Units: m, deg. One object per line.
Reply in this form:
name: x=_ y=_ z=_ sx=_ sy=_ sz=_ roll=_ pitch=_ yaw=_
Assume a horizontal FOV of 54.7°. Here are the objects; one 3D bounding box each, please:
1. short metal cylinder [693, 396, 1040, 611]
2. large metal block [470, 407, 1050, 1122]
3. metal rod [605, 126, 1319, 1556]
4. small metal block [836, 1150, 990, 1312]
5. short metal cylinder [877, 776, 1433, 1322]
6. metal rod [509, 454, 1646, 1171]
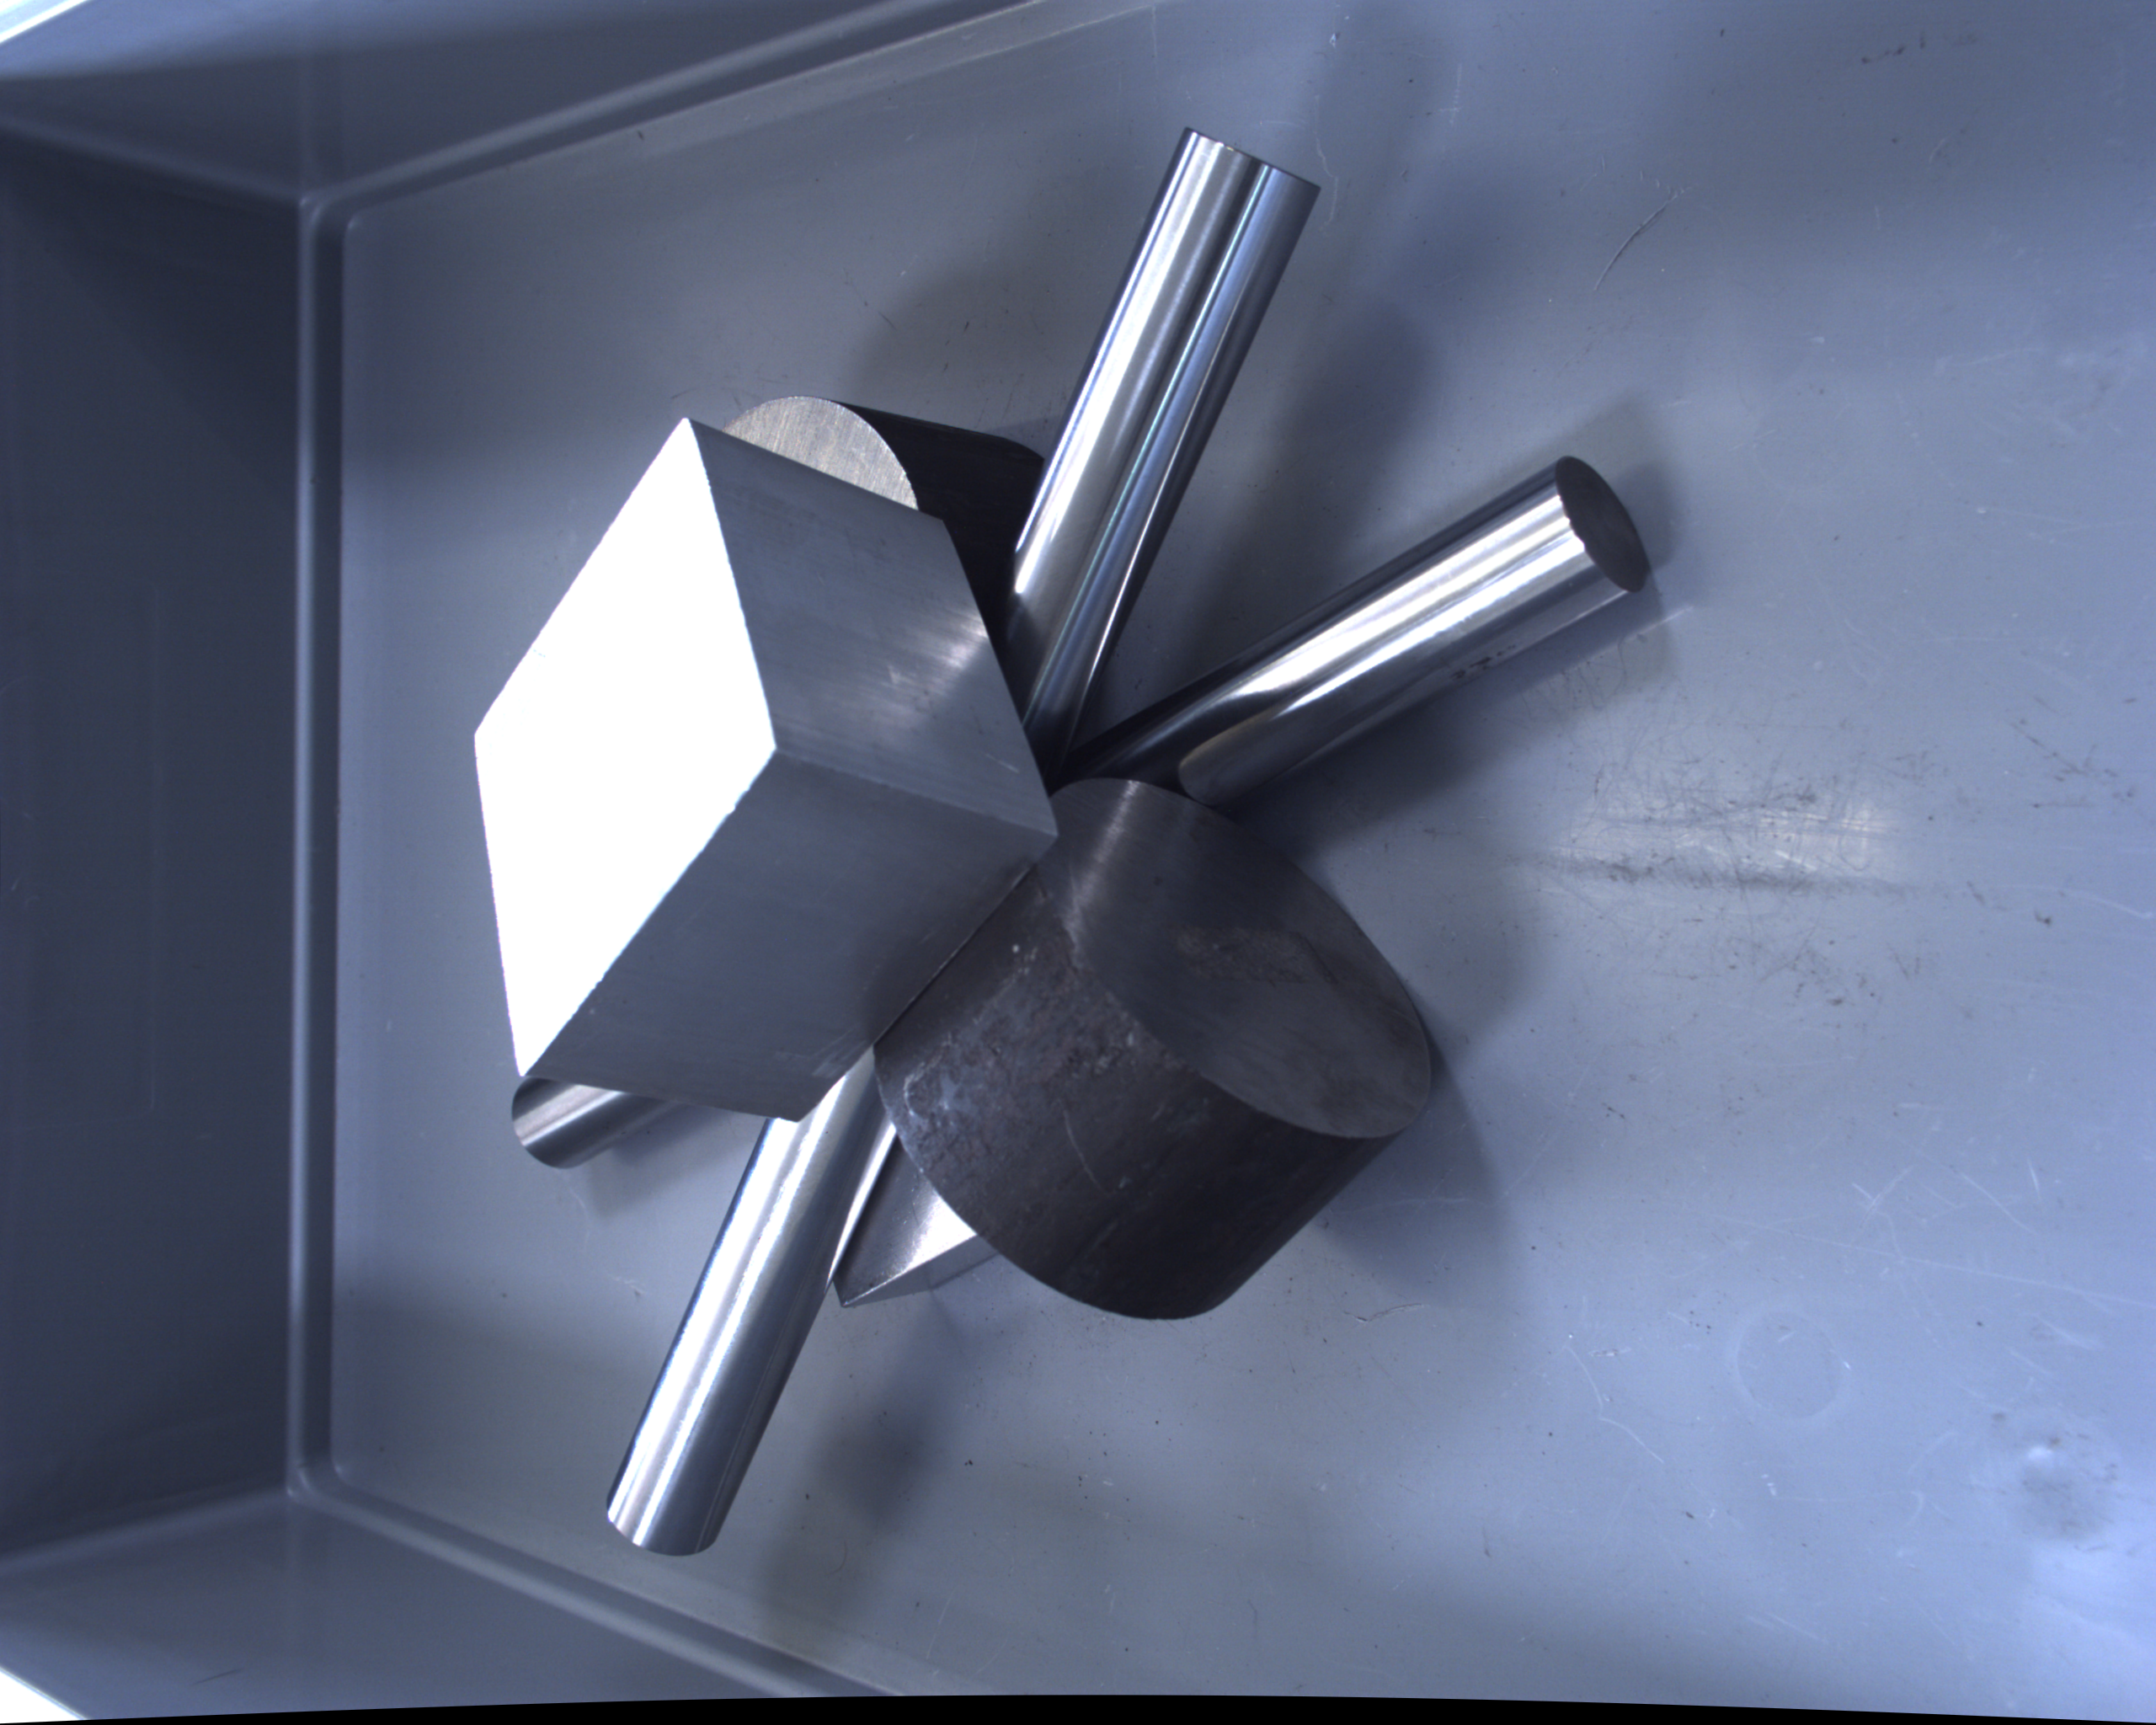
short metal cylinder: x=-0.041 y=-0.050 z=0.422 sx=0.080 sy=0.050 sz=0.079 roll=0 pitch=90 yaw=40
large metal block: x=-0.058 y=-0.015 z=0.354 sx=0.080 sy=0.050 sz=0.080 roll=-48 pitch=45 yaw=30
metal rod: x=-0.030 y=0.010 z=0.397 sx=0.025 sy=0.025 sz=0.298 roll=37 pitch=112 yaw=33
small metal block: x=-0.032 y=0.059 z=0.431 sx=0.050 sy=0.025 sz=0.050 roll=-34 pitch=69 yaw=34
short metal cylinder: x=0.013 y=0.031 z=0.358 sx=0.050 sy=0.081 sz=0.080 roll=-51 pitch=60 yaw=29
metal rod: x=-0.022 y=0.004 z=0.423 sx=0.299 sy=0.025 sz=0.025 roll=-29 pitch=72 yaw=36
